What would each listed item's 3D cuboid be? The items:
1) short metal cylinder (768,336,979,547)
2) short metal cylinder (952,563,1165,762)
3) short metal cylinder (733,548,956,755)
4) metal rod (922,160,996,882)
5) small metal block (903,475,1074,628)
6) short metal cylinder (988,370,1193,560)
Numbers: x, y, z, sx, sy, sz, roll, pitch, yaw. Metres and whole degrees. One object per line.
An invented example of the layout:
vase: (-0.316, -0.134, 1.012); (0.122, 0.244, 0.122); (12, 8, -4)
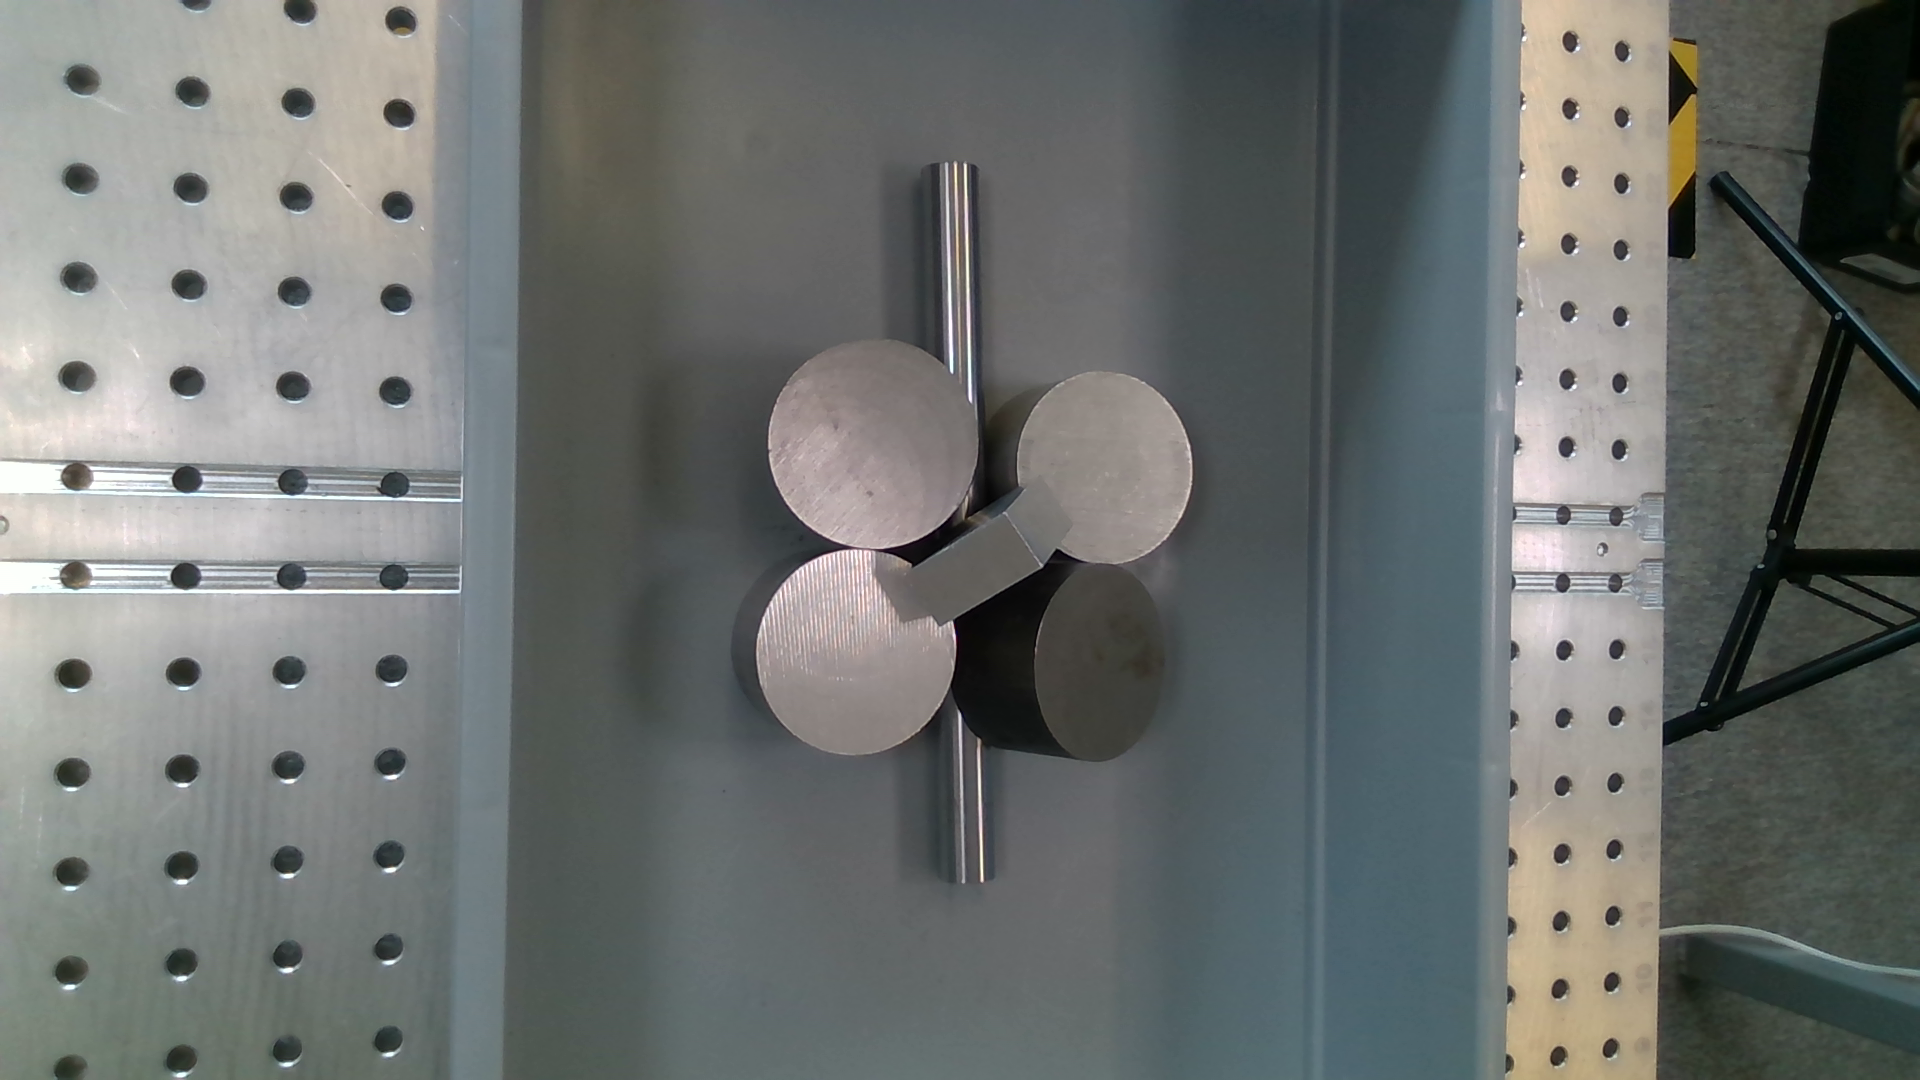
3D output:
short metal cylinder: (-0.033, -0.037, 0.546); (0.080, 0.050, 0.080); (0, 91, 0)
short metal cylinder: (0.041, 0.049, 0.573); (0.080, 0.050, 0.080); (1, 89, -44)
short metal cylinder: (-0.048, 0.043, 0.554); (0.080, 0.050, 0.080); (0, 90, -20)
metal rod: (-0.001, -0.007, 0.584); (0.025, 0.025, 0.300); (-2, 91, -20)
small metal block: (0.012, 0.003, 0.538); (0.050, 0.050, 0.025); (-32, 97, 25)
short metal cylinder: (0.052, -0.030, 0.591); (0.080, 0.050, 0.080); (0, 90, -20)
